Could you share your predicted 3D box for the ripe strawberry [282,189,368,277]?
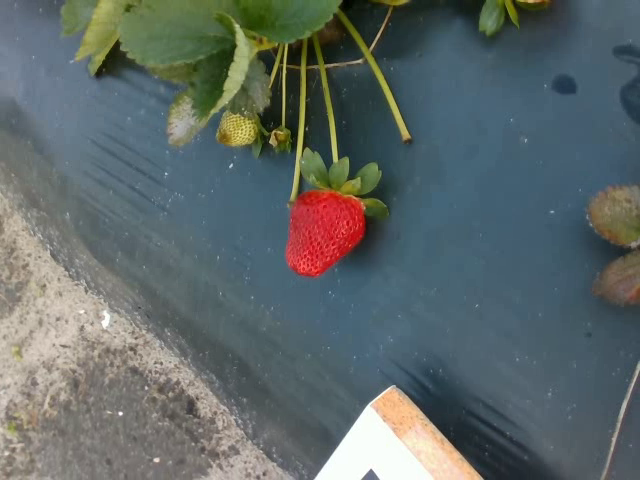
[{"bbox_3d":[0.000,-0.003,0.299,0.042,0.054,0.045,45,-25,-25],"label":"ripe strawberry"}]
